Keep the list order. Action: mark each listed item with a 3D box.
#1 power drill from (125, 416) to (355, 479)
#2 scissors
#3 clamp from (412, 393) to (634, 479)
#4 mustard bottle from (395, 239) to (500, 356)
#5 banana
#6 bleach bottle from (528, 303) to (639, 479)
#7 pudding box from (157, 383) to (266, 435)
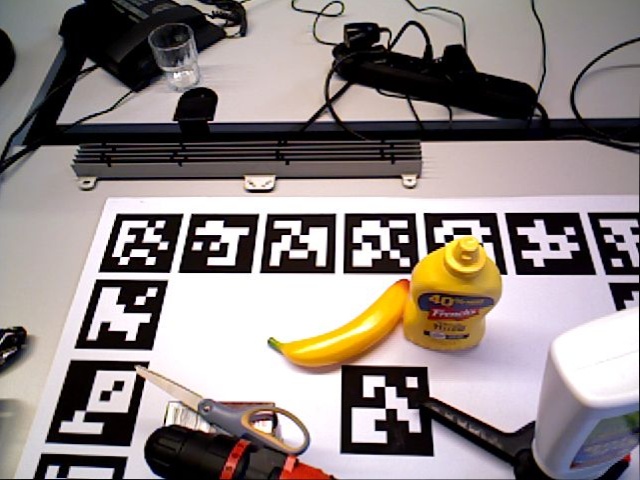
[{"bbox_3d":[-0.060,0.214,0.450,0.185,0.191,0.056,12,49,14],"label":"power drill"},{"bbox_3d":[-0.121,0.146,0.517,0.203,0.016,0.086,25,65,14],"label":"scissors"},{"bbox_3d":[0.203,0.221,0.536,0.202,0.037,0.163,-3,58,0],"label":"clamp"},{"bbox_3d":[0.138,0.058,0.580,0.096,0.195,0.057,14,56,11],"label":"mustard bottle"},{"bbox_3d":[0.034,0.082,0.652,0.194,0.039,0.074,-32,42,-16],"label":"banana"},{"bbox_3d":[0.235,0.148,0.454,0.102,0.254,0.067,-17,51,0],"label":"bleach bottle"},{"bbox_3d":[-0.110,0.190,0.565,0.114,0.092,0.038,6,49,7],"label":"pudding box"}]
